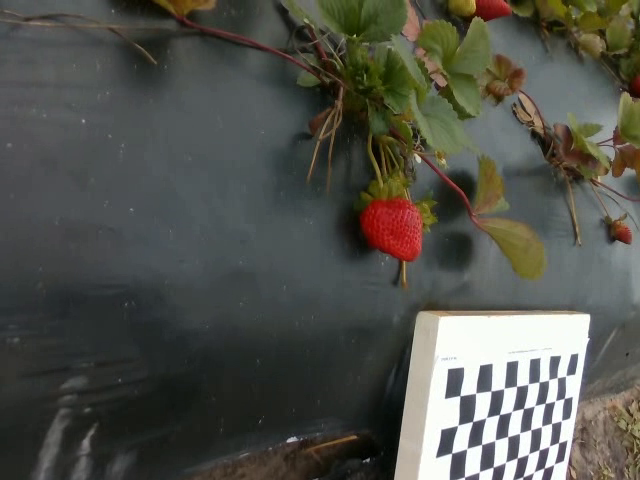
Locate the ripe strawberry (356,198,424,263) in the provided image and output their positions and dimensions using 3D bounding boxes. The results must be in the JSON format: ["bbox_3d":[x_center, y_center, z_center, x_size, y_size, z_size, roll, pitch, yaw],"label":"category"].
[{"bbox_3d":[0.017,-0.001,0.147,0.014,0.017,0.018,-38,-25,17],"label":"ripe strawberry"}]
